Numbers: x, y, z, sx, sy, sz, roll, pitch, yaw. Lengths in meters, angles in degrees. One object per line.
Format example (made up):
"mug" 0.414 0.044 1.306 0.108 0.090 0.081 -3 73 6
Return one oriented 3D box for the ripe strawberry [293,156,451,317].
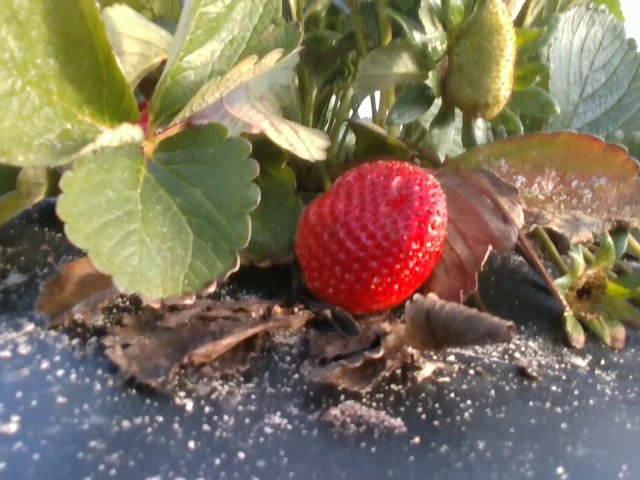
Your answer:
"ripe strawberry" 0.009 -0.001 0.102 0.031 0.026 0.030 -11 10 -21
